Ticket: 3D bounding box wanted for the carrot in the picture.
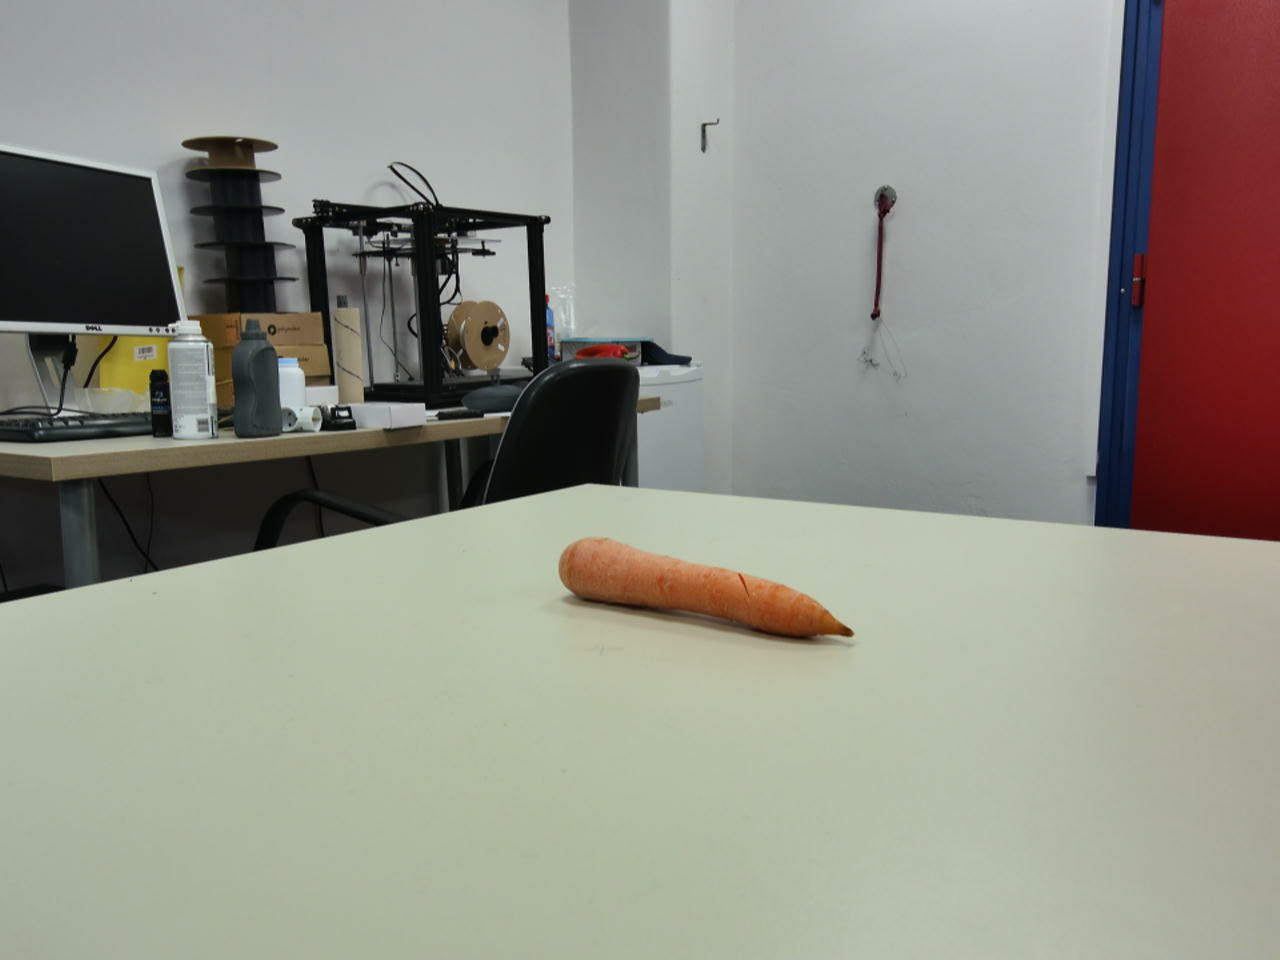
[{"bbox_3d":[0.033,0.061,0.582,0.196,0.041,0.039,4,7,35],"label":"carrot"}]
